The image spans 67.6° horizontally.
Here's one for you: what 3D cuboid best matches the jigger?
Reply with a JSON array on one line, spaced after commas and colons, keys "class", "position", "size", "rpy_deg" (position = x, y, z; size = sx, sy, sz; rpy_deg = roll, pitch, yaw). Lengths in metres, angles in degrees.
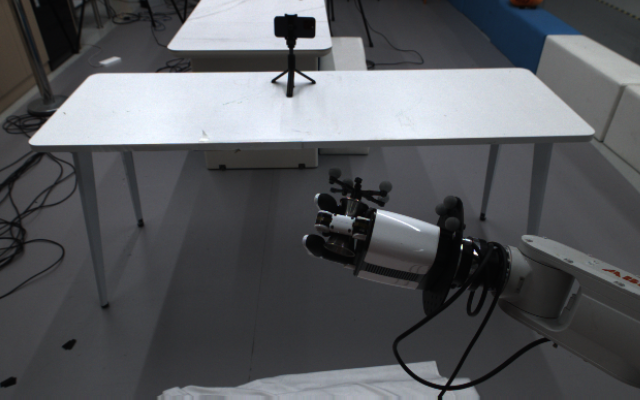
[{"class": "jigger", "position": [0.039, 0.035, 0.639], "size": [0.043, 0.043, 0.071], "rpy_deg": [12, 71, 14]}]
